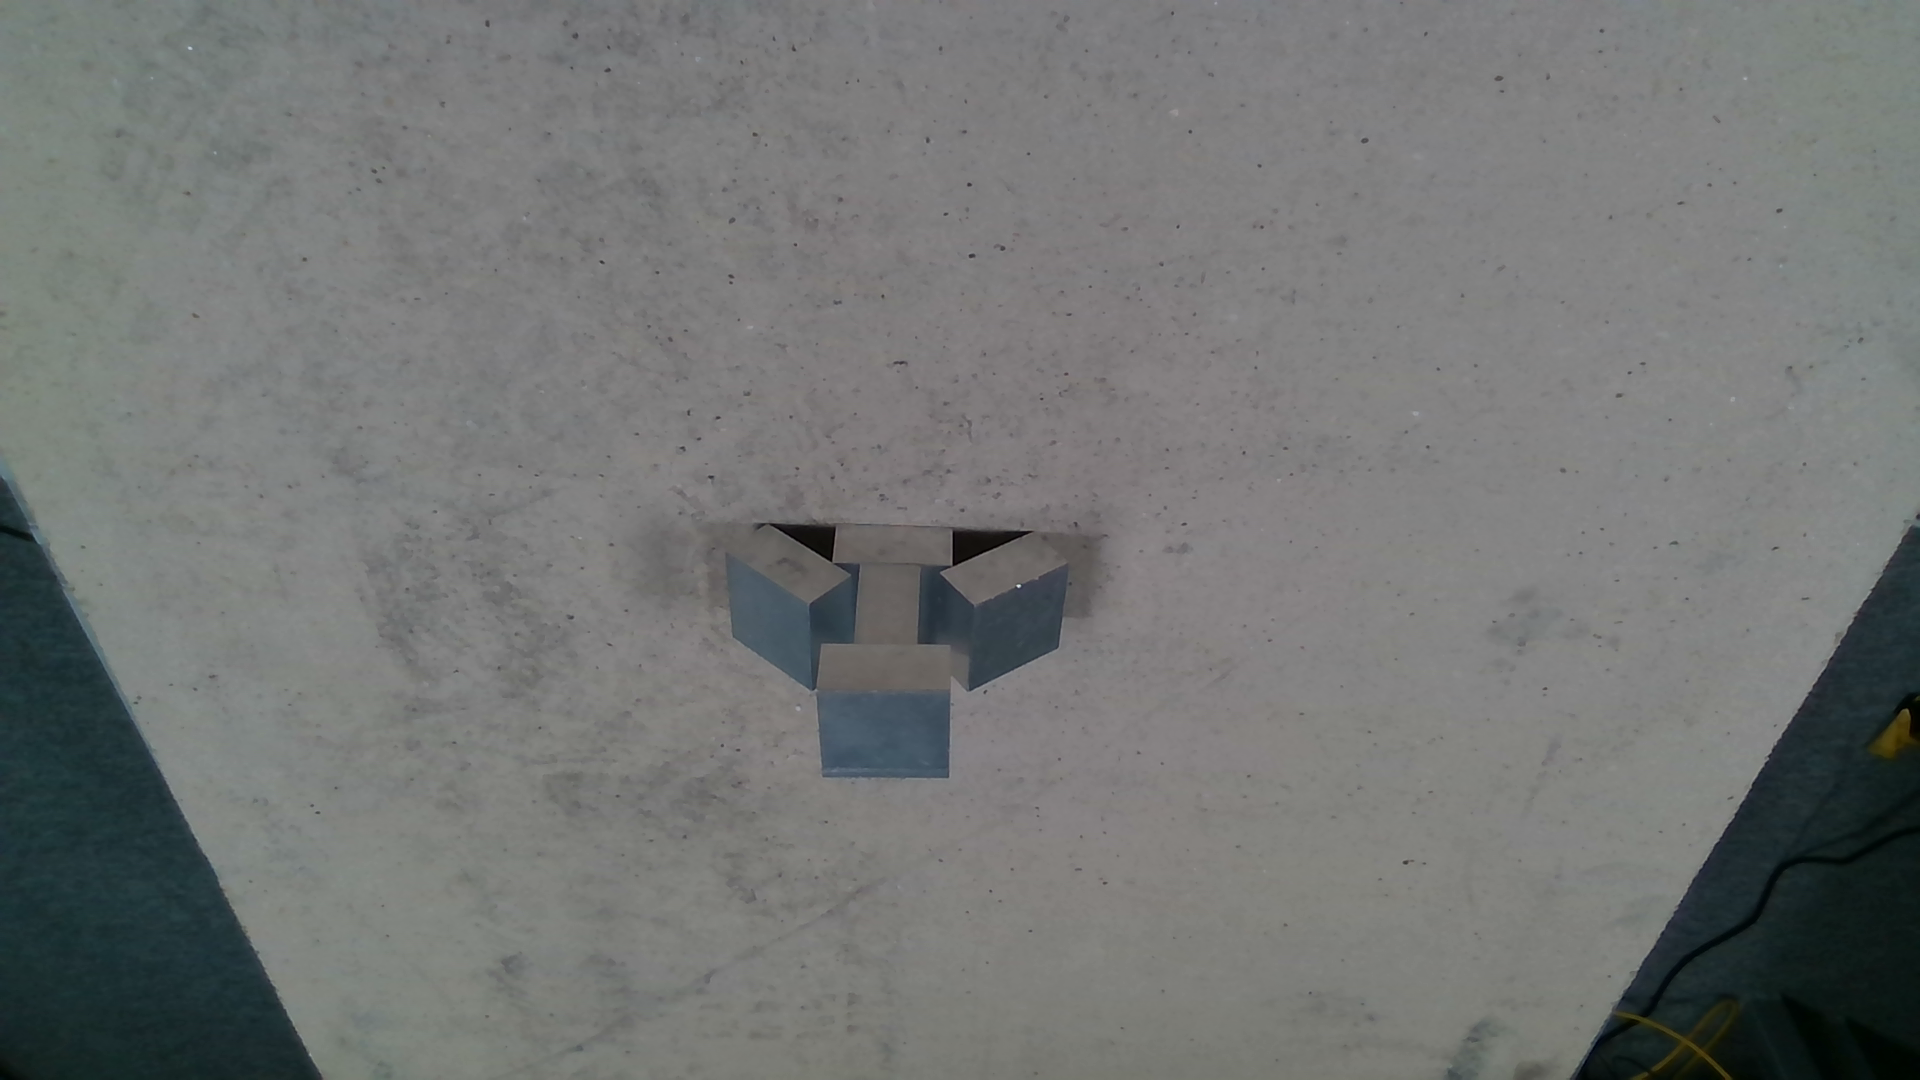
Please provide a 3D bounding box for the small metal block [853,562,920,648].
[{"bbox_3d":[-0.030,0.045,0.568,0.025,0.050,0.050,2,130,-2],"label":"small metal block"}]

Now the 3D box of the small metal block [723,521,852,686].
[{"bbox_3d":[-0.073,0.028,0.586,0.050,0.025,0.050,30,137,29],"label":"small metal block"}]

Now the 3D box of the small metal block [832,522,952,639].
[{"bbox_3d":[-0.029,0.020,0.597,0.050,0.025,0.050,2,130,-2],"label":"small metal block"}]

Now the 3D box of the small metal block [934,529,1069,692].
[{"bbox_3d":[0.017,0.030,0.589,0.050,0.025,0.050,-23,136,-28],"label":"small metal block"}]

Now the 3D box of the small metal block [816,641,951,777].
[{"bbox_3d":[-0.029,0.066,0.538,0.050,0.025,0.050,1,130,-1],"label":"small metal block"}]
